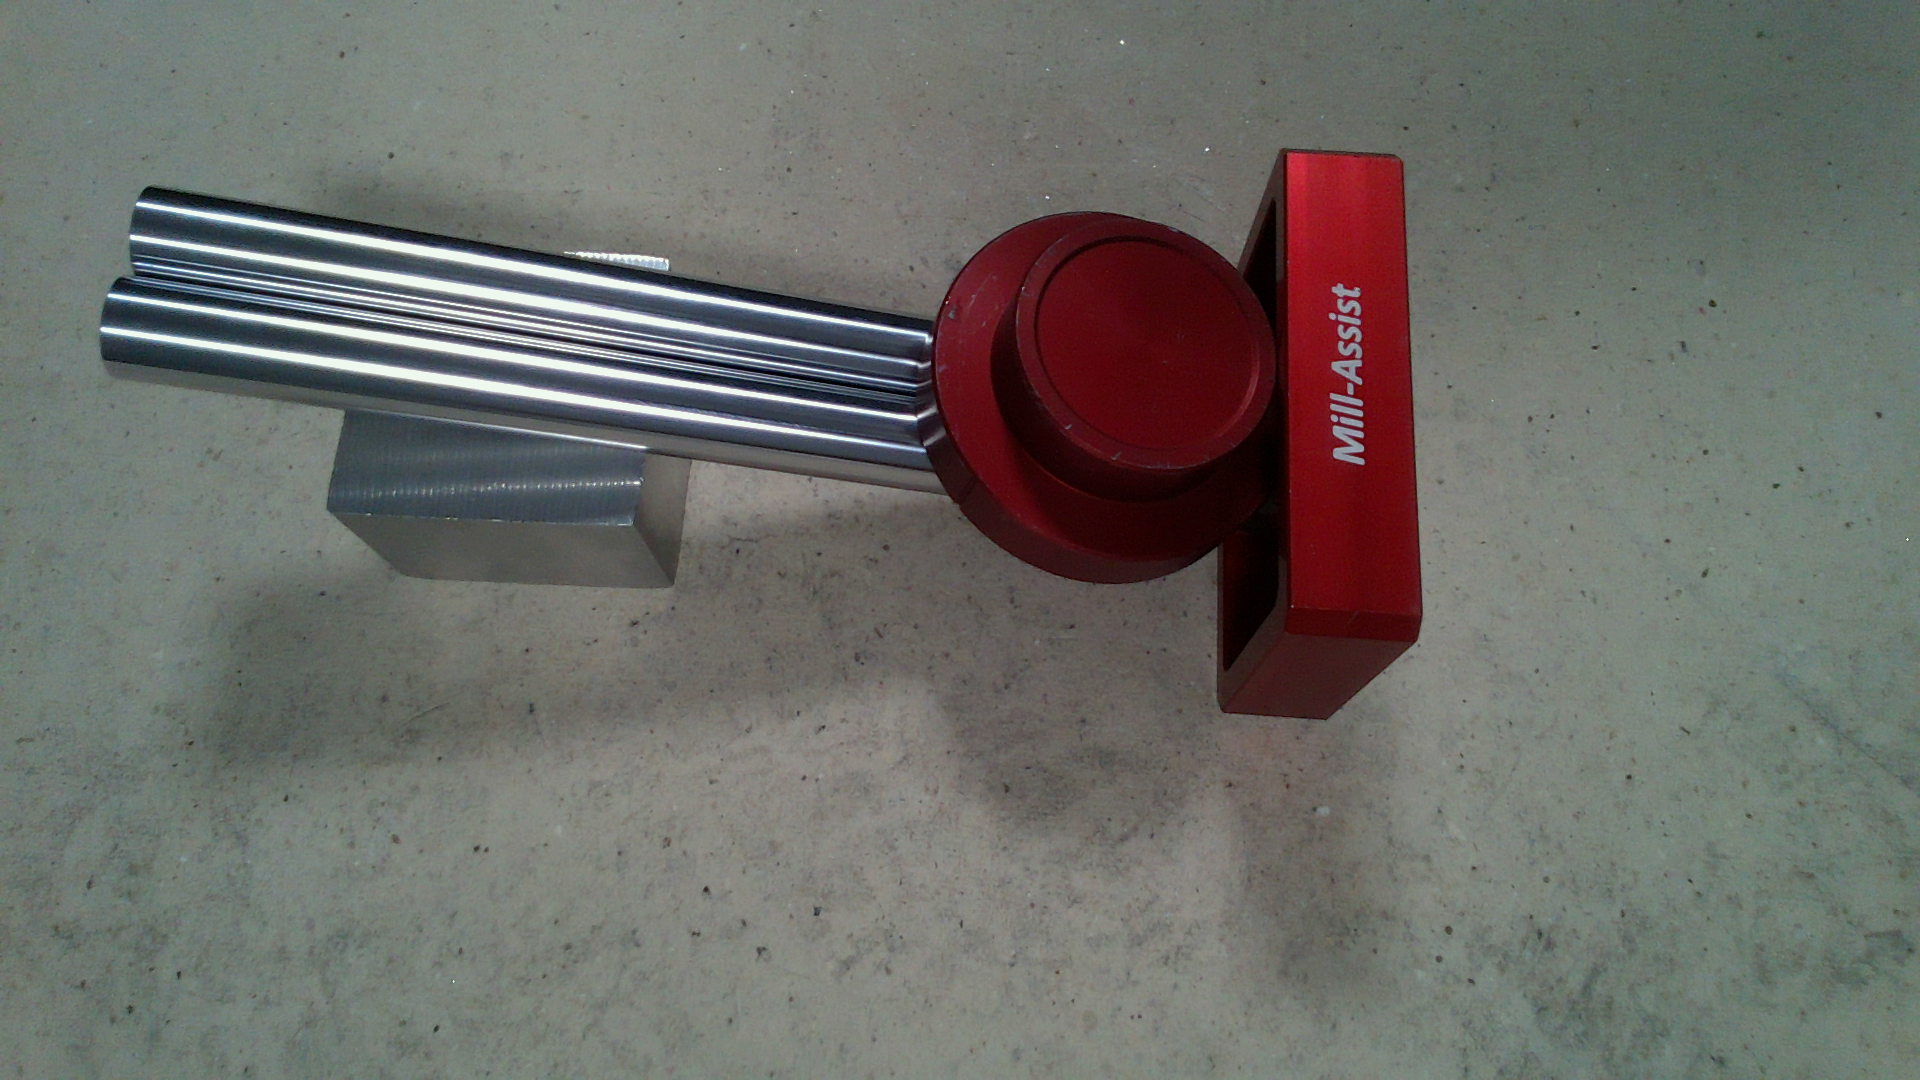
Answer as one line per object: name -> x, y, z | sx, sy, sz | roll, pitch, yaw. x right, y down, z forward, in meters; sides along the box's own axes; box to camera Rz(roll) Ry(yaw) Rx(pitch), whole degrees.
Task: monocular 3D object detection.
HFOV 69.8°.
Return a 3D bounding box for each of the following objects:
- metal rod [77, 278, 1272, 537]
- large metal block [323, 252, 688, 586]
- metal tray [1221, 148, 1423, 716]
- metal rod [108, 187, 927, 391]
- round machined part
metal rod -> -0.060, -0.032, 0.358 | 0.300, 0.025, 0.025 | 7, 70, -11
large metal block -> -0.121, -0.035, 0.390 | 0.080, 0.050, 0.080 | 3, 70, 1
metal tray -> 0.092, -0.025, 0.369 | 0.030, 0.090, 0.130 | 3, 70, 2
metal rod -> -0.058, -0.057, 0.367 | 0.300, 0.025, 0.025 | 7, 70, -11
round machined part -> 0.040, -0.042, 0.349 | 0.098, 0.042, 0.098 | 3, 72, -10
